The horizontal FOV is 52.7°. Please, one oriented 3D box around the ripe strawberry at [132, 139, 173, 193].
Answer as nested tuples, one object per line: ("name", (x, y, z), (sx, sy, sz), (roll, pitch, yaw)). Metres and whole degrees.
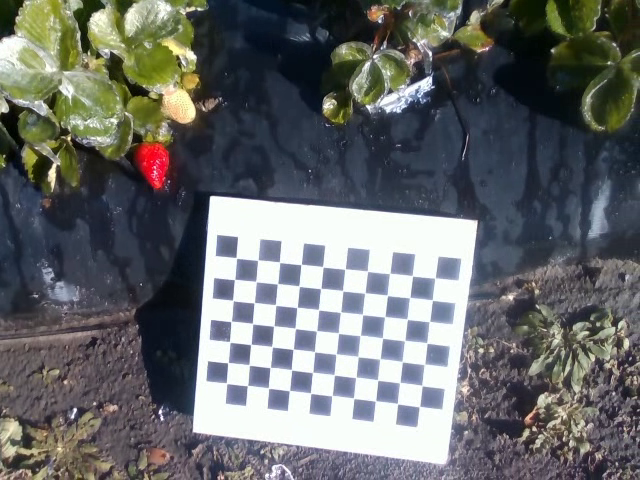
("ripe strawberry", (-0.183, -0.080, 0.690), (0.041, 0.052, 0.040), (-12, -2, 5))
